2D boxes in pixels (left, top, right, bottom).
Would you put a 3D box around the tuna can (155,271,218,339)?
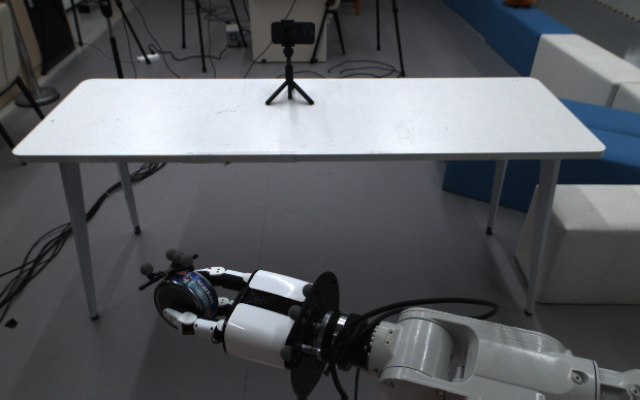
[{"bbox_3d":[-0.183,0.146,0.667,0.085,0.085,0.034,15,30,17],"label":"tuna can"}]
